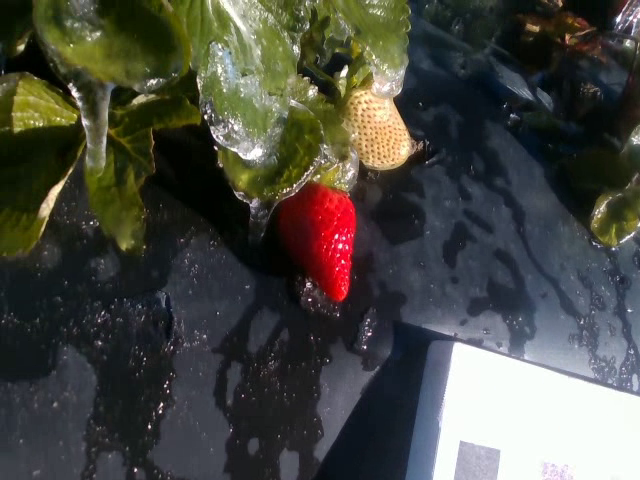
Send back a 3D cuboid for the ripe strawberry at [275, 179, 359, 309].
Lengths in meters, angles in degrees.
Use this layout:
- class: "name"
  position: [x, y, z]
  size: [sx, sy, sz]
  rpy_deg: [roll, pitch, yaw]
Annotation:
- class: "ripe strawberry"
  position: [0.008, 0.001, 0.260]
  size: [0.042, 0.052, 0.040]
  rpy_deg: [0, -15, -26]
